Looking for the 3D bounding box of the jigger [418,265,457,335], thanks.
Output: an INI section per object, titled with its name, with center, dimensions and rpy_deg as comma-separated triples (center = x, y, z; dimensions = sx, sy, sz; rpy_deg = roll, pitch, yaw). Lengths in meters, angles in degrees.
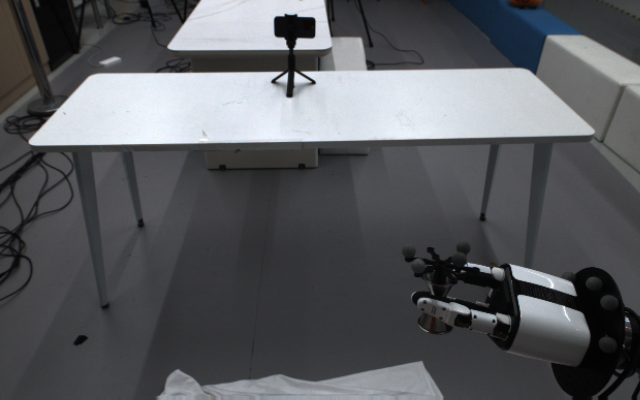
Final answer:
[jigger]
center = 0.145, 0.125, 0.601
dimensions = 0.043, 0.071, 0.043
rpy_deg = 0, 21, 0
